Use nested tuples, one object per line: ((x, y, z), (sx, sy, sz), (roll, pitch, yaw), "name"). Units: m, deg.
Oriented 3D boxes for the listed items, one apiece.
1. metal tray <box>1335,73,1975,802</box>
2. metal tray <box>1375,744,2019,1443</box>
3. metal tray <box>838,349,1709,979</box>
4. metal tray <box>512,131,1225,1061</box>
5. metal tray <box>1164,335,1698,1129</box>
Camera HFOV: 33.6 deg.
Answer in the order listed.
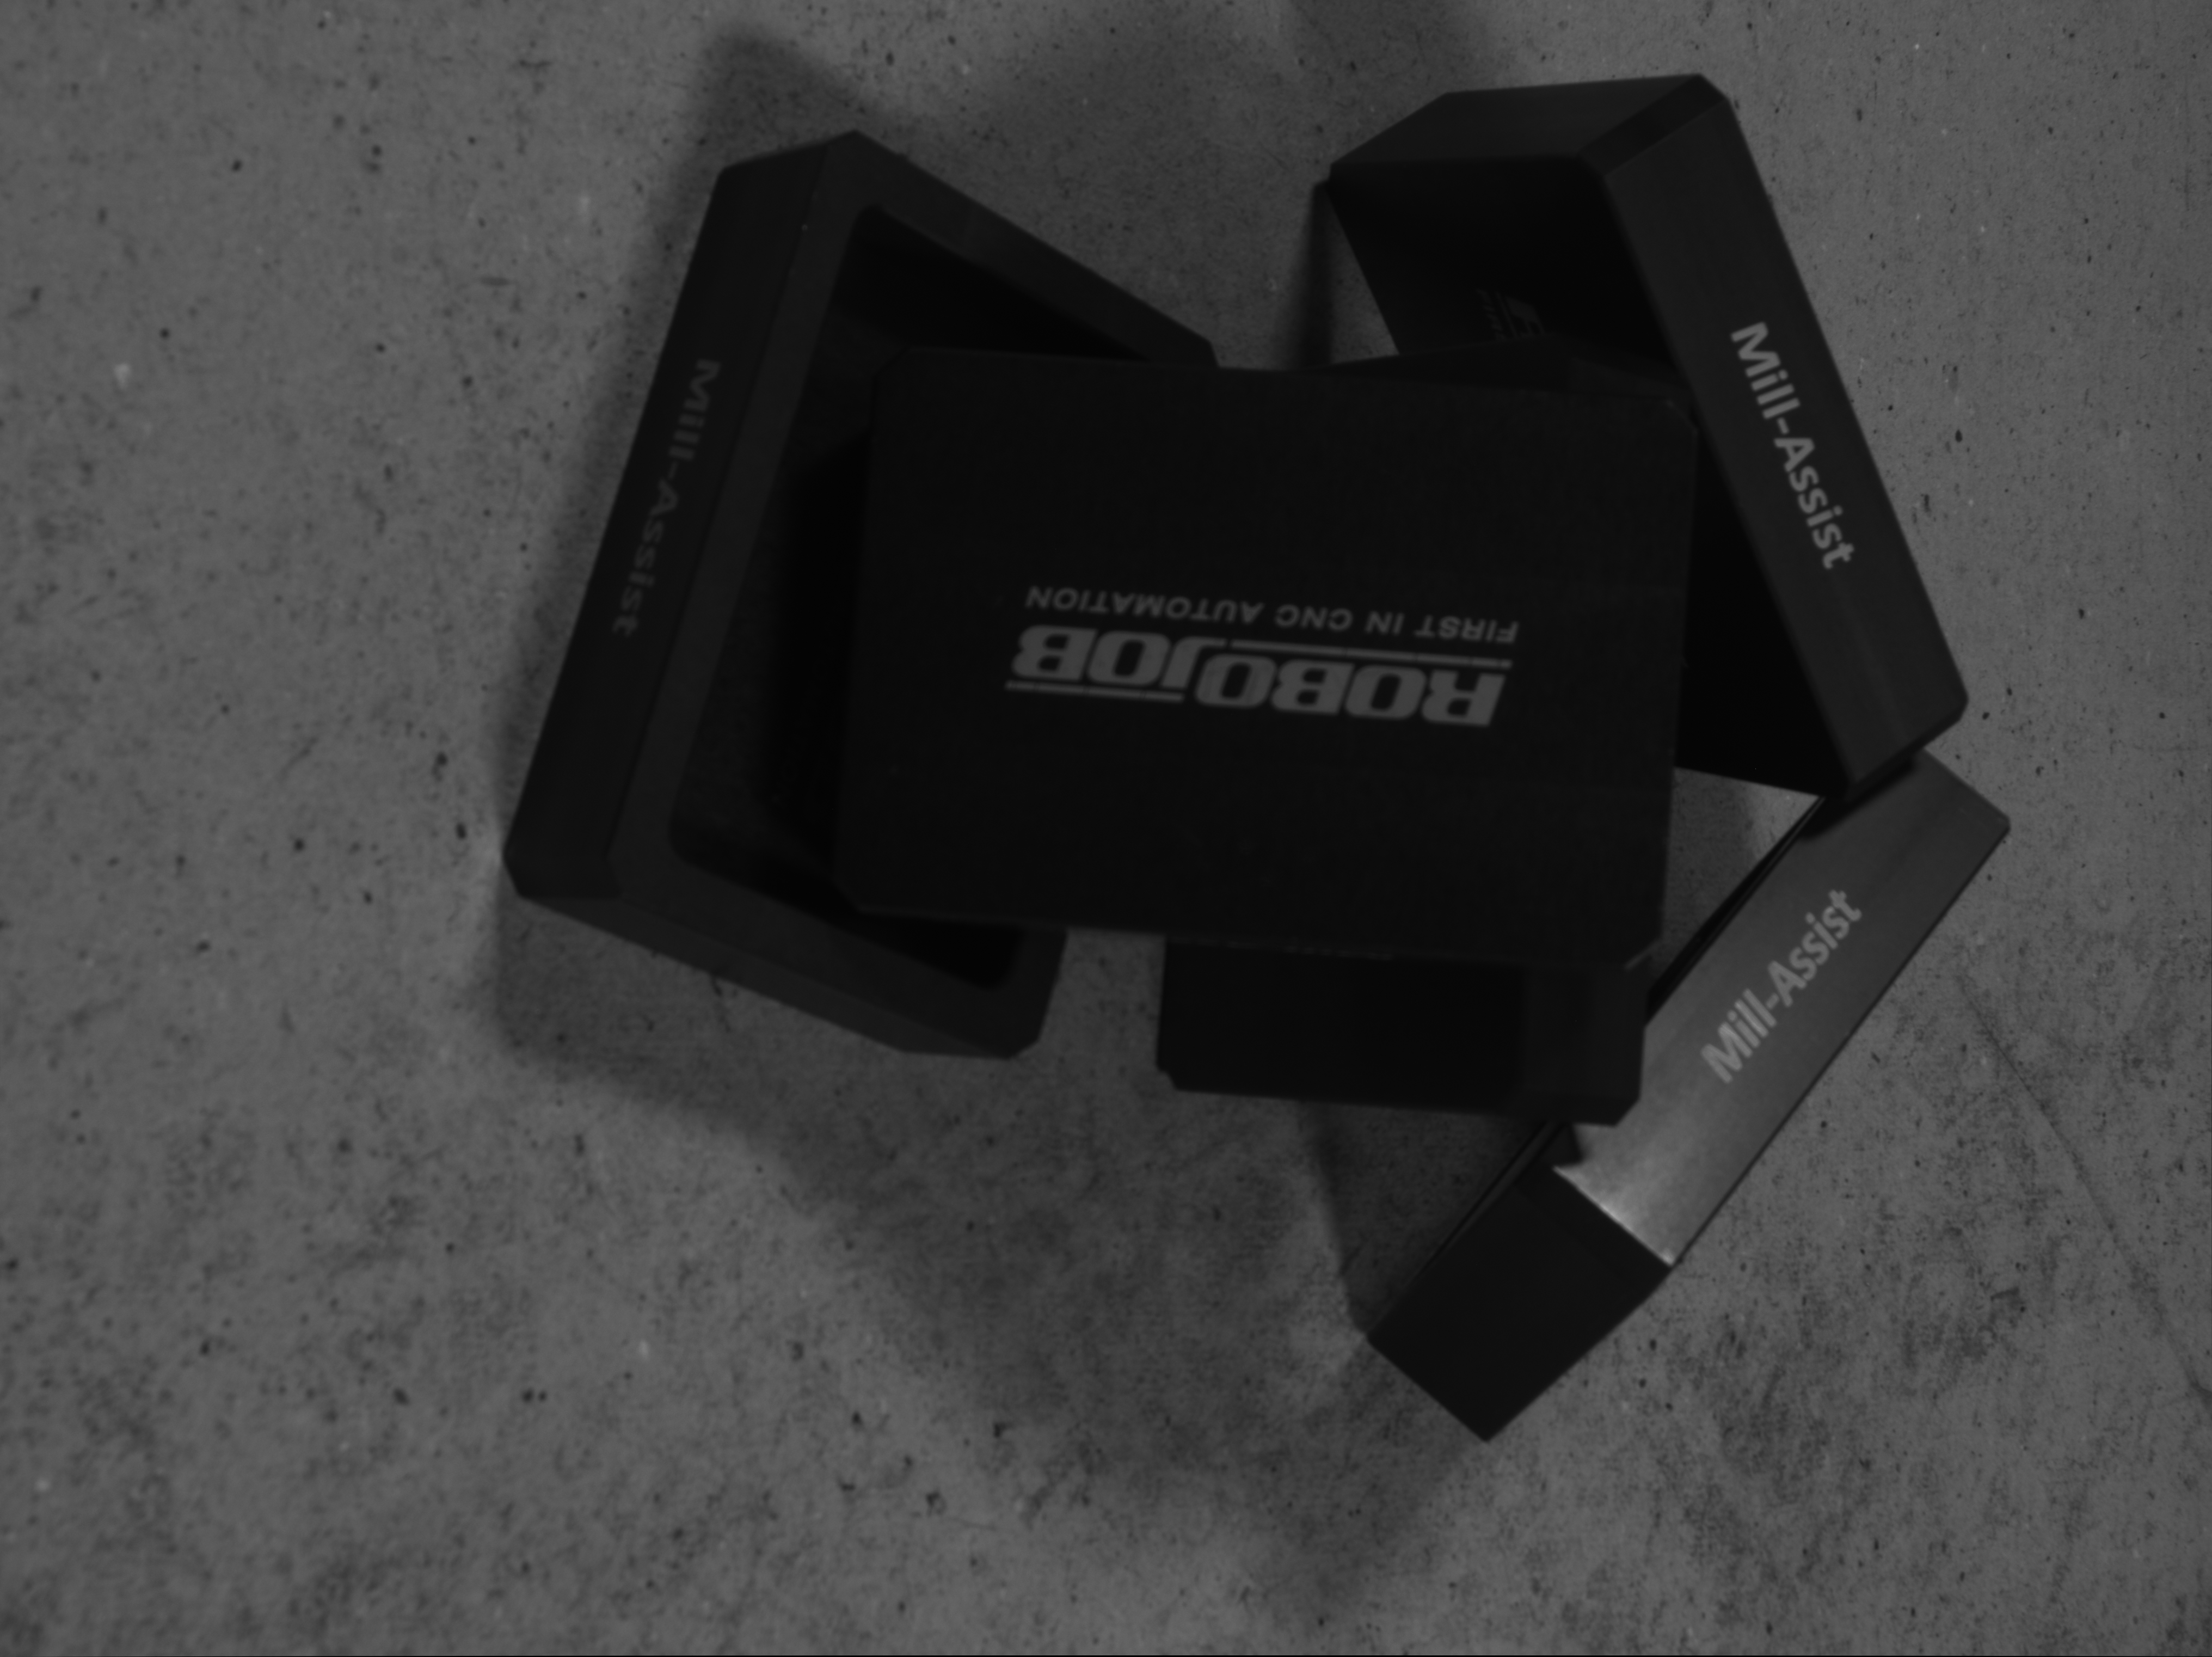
((0.100, -0.072, 0.676), (0.030, 0.090, 0.130), (-34, 112, -19), "metal tray")
((0.111, 0.048, 0.687), (0.030, 0.090, 0.130), (40, 60, 7), "metal tray")
((0.027, -0.025, 0.587), (0.130, 0.030, 0.090), (5, 86, 5), "metal tray")
((-0.036, -0.036, 0.604), (0.090, 0.030, 0.130), (25, 74, -37), "metal tray")
((0.055, -0.016, 0.642), (0.030, 0.090, 0.130), (8, 85, -39), "metal tray")
